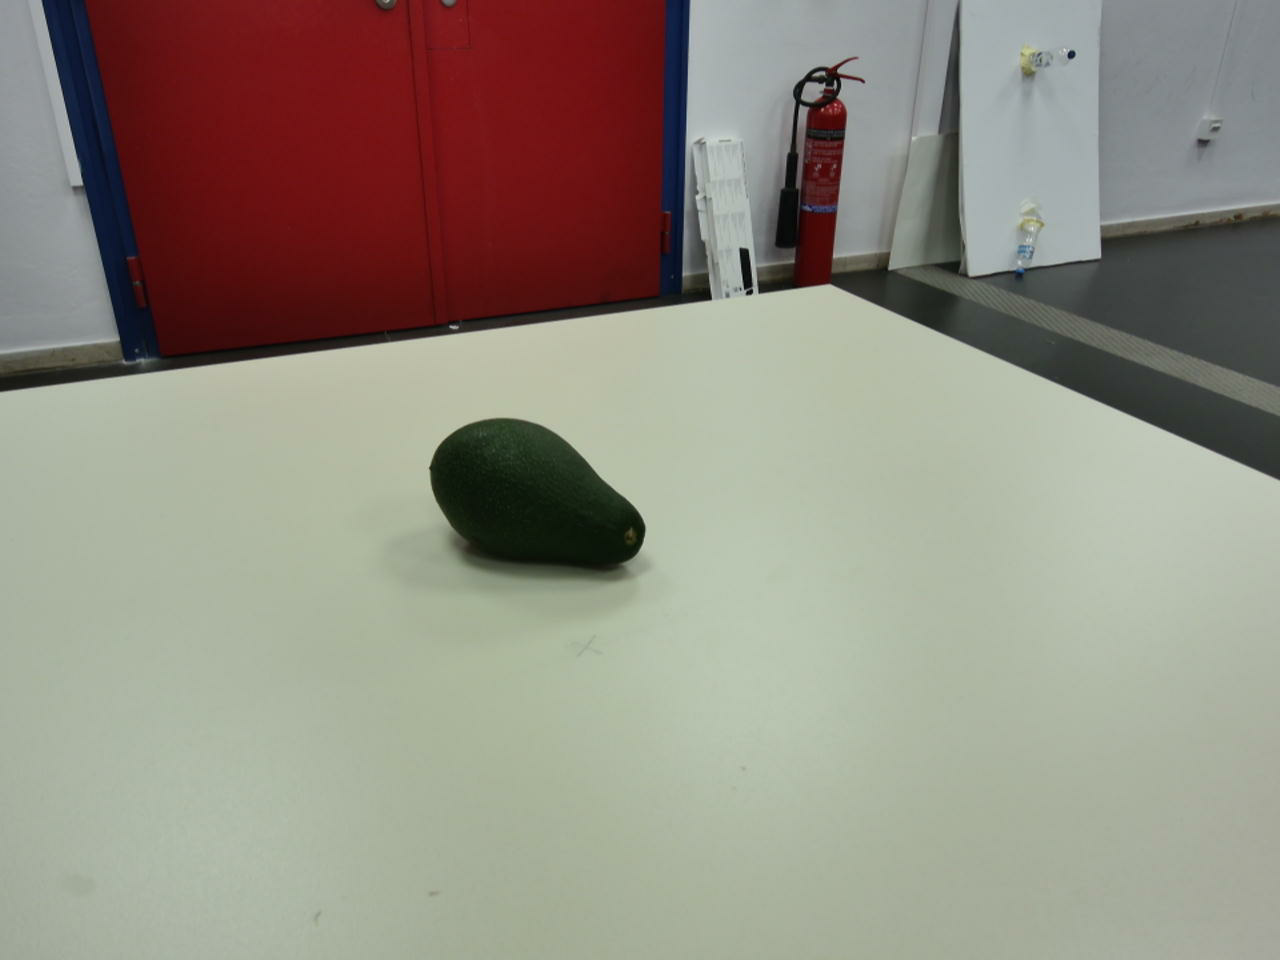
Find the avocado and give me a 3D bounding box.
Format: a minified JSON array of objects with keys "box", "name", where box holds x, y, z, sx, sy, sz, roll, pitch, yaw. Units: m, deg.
[{"box":[-0.056,0.007,0.511,0.110,0.071,0.072,21,33,37],"name":"avocado"}]
